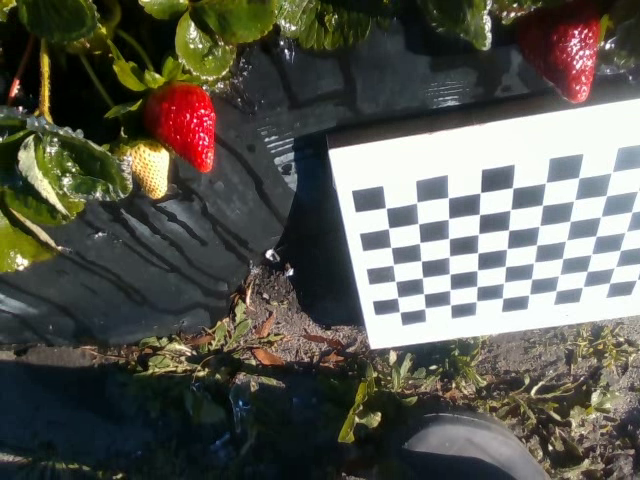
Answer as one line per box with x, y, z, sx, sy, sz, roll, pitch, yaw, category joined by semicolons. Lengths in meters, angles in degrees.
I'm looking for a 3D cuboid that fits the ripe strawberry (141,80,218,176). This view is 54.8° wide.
-0.081;-0.067;0.387;0.043;0.061;0.046;-18;6;16;ripe strawberry

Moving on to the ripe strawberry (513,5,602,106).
0.142;-0.104;0.351;0.049;0.061;0.044;-13;16;11;ripe strawberry
